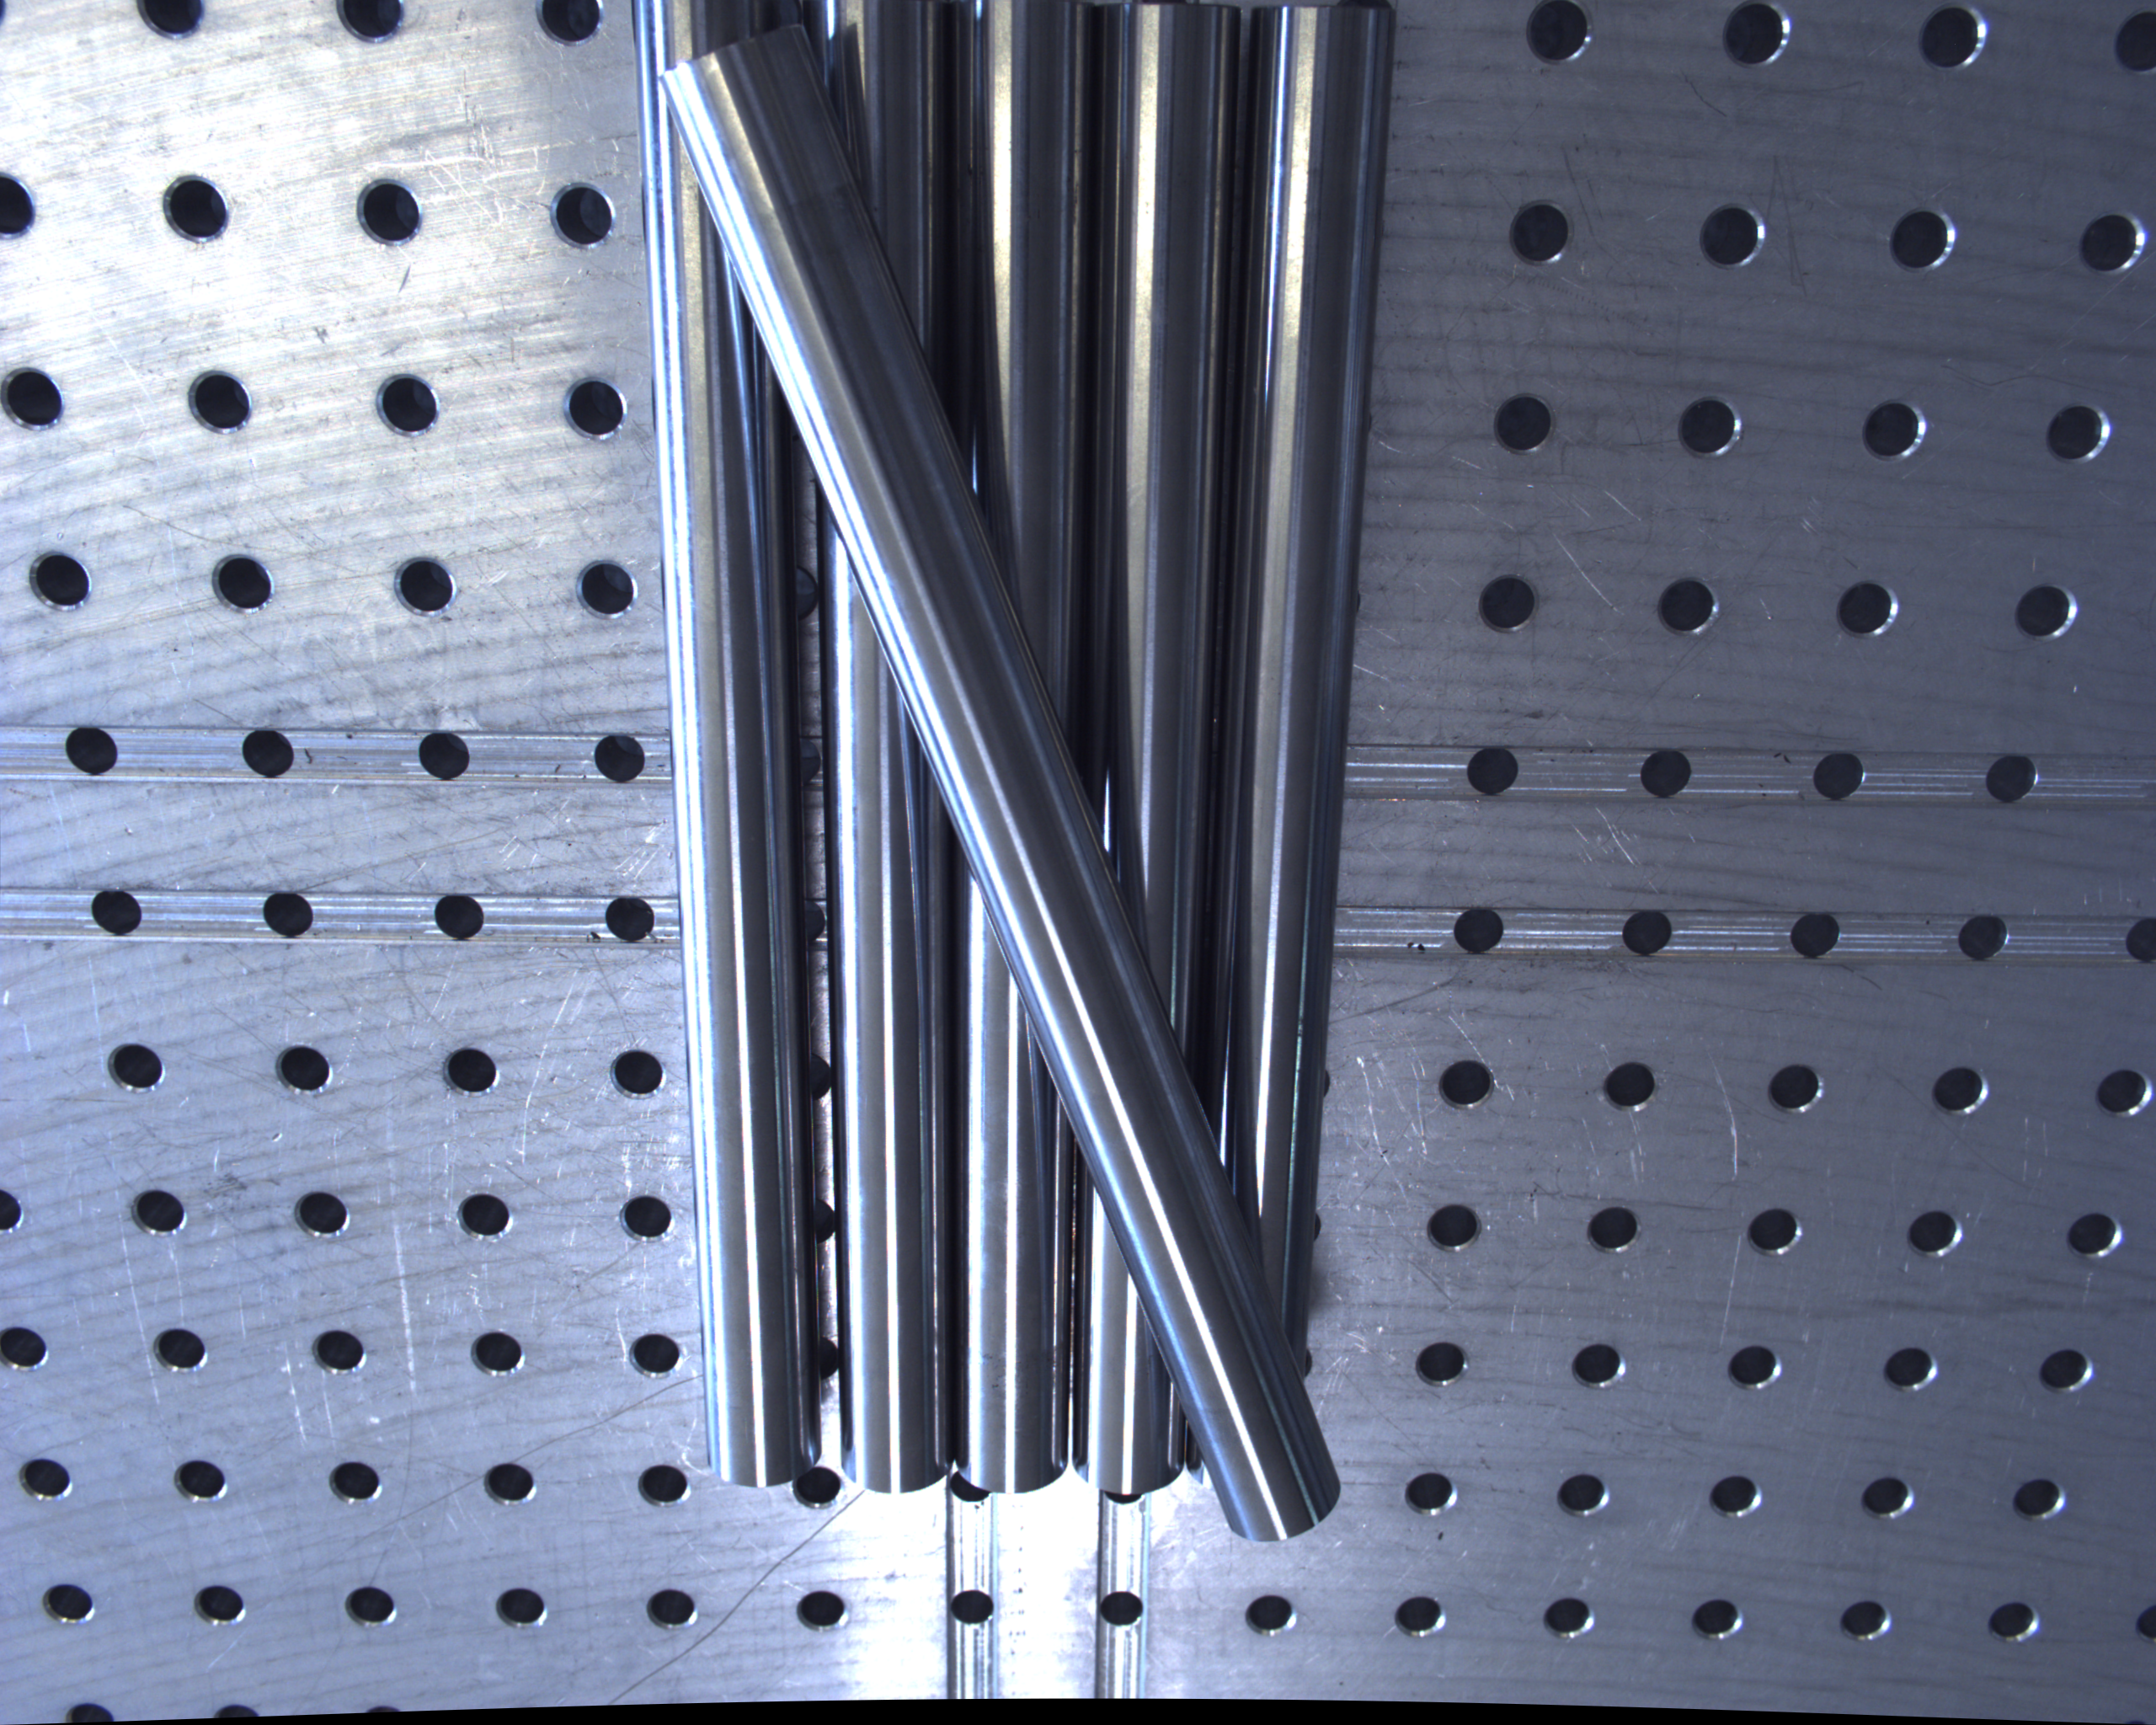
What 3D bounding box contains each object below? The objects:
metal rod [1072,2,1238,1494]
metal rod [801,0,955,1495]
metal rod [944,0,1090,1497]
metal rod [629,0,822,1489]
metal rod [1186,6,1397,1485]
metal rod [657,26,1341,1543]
[{"bbox_3d":[0.013,-0.008,0.411,0.025,0.025,0.298,1,110,0],"label":"metal rod"},{"bbox_3d":[-0.037,-0.008,0.409,0.025,0.025,0.298,1,110,0],"label":"metal rod"},{"bbox_3d":[-0.013,-0.008,0.409,0.025,0.025,0.298,1,110,0],"label":"metal rod"},{"bbox_3d":[-0.067,-0.010,0.408,0.025,0.025,0.298,1,110,0],"label":"metal rod"},{"bbox_3d":[0.039,-0.007,0.411,0.025,0.025,0.298,1,110,-1],"label":"metal rod"},{"bbox_3d":[-0.007,0.001,0.387,0.025,0.025,0.299,-18,109,6],"label":"metal rod"}]
